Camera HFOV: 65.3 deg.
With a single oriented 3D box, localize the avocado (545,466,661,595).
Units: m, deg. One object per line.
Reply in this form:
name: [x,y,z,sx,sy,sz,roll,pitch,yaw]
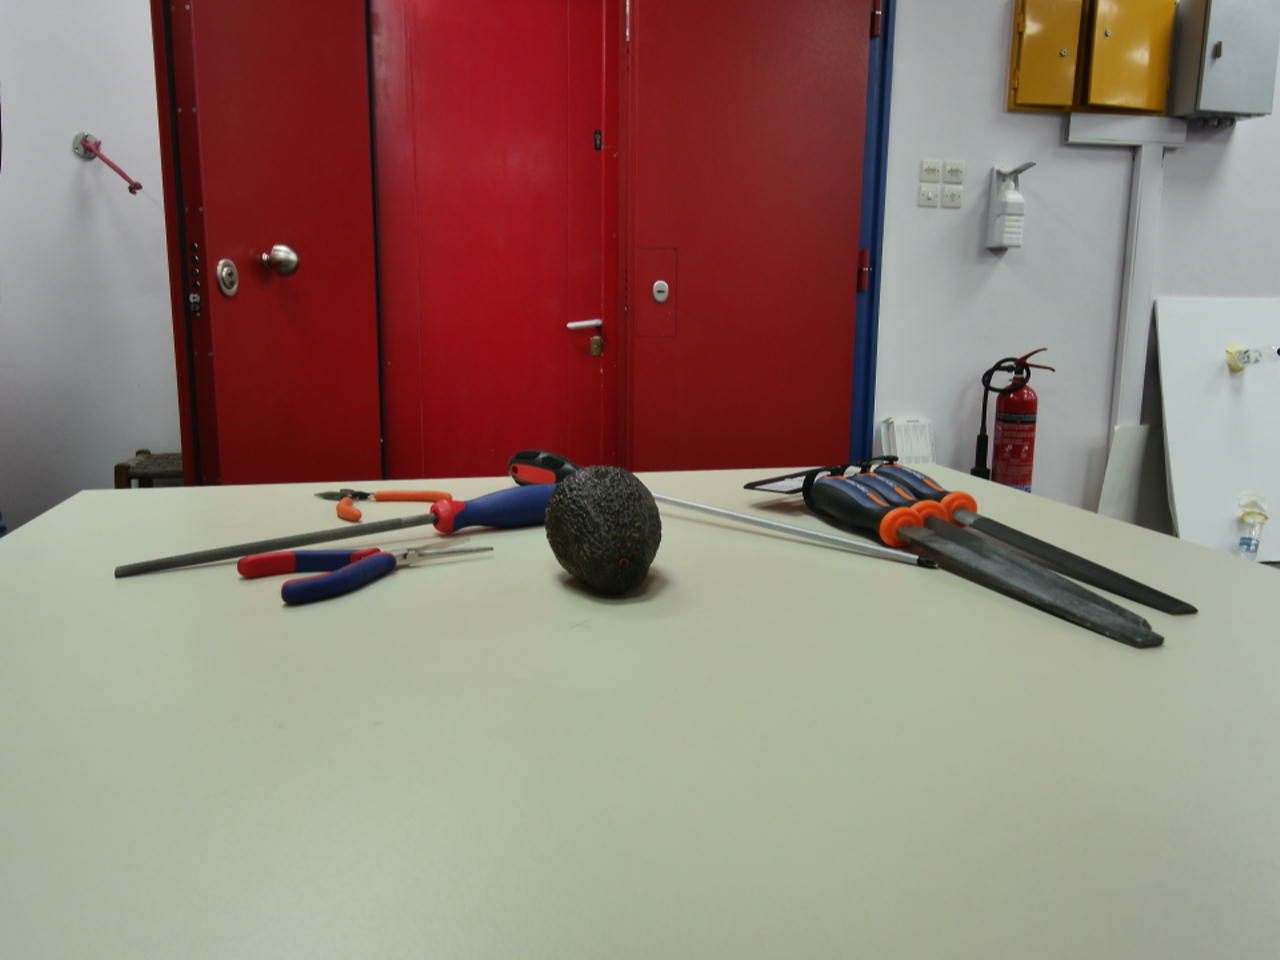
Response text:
avocado: [-0.023,0.027,0.590,0.070,0.069,0.090,2,8,12]
